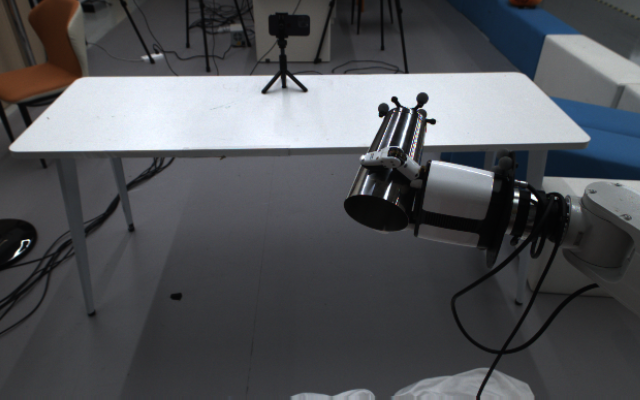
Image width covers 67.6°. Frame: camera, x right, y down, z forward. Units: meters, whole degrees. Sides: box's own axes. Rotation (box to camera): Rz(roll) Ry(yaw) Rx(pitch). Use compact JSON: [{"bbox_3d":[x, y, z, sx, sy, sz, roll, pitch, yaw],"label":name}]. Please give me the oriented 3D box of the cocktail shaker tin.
[{"bbox_3d":[0.102,-0.050,0.699,0.093,0.093,0.170,13,60,16],"label":"cocktail shaker tin"}]
